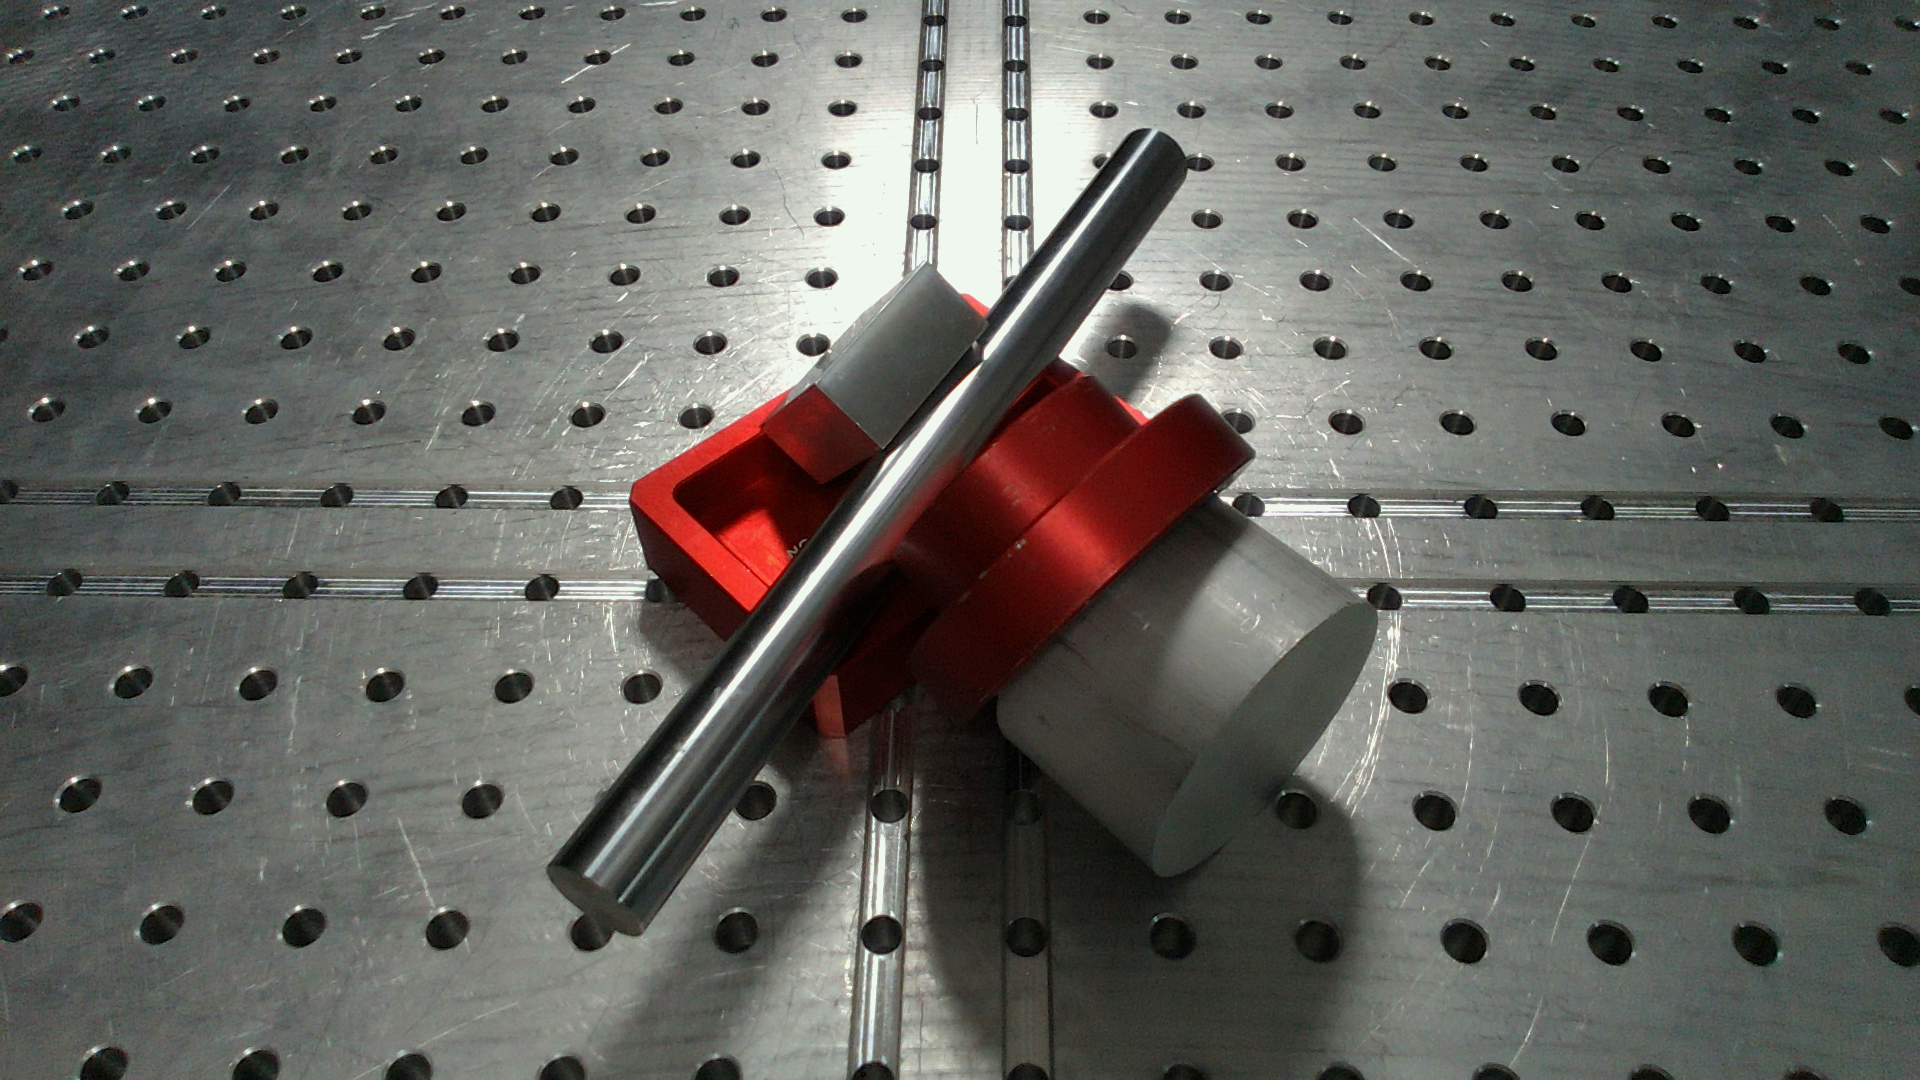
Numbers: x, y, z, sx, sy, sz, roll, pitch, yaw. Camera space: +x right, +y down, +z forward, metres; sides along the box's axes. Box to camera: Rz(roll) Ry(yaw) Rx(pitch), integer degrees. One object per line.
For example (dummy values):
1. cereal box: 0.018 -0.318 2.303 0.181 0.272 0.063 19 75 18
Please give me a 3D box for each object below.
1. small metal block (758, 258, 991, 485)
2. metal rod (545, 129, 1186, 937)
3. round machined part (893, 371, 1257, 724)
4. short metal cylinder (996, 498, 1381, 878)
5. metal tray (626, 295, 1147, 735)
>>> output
1. small metal block: -0.025 -0.046 0.389 0.025 0.050 0.050 44 66 -13
2. metal rod: -0.007 -0.025 0.376 0.025 0.025 0.301 22 53 18
3. round machined part: 0.022 -0.003 0.336 0.098 0.098 0.042 -39 81 -28
4. short metal cylinder: 0.055 0.033 0.329 0.080 0.080 0.050 -36 58 -26
5. metal tray: -0.018 -0.014 0.402 0.130 0.030 0.090 -36 58 -26
